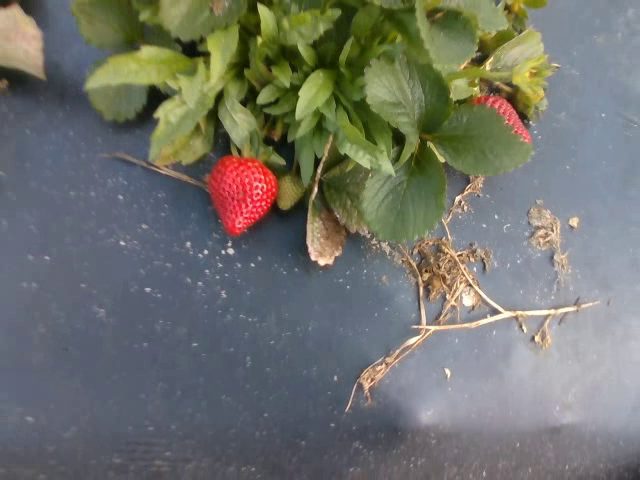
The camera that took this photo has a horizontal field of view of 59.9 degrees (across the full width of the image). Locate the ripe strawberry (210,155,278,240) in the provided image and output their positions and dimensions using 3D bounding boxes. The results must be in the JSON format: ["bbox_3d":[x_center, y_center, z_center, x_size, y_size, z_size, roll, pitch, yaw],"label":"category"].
[{"bbox_3d":[-0.046,-0.024,0.301,0.043,0.051,0.043,12,-17,-9],"label":"ripe strawberry"}]

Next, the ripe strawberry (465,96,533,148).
[{"bbox_3d":[0.108,-0.068,0.330,0.046,0.043,0.046,29,6,18],"label":"ripe strawberry"}]
